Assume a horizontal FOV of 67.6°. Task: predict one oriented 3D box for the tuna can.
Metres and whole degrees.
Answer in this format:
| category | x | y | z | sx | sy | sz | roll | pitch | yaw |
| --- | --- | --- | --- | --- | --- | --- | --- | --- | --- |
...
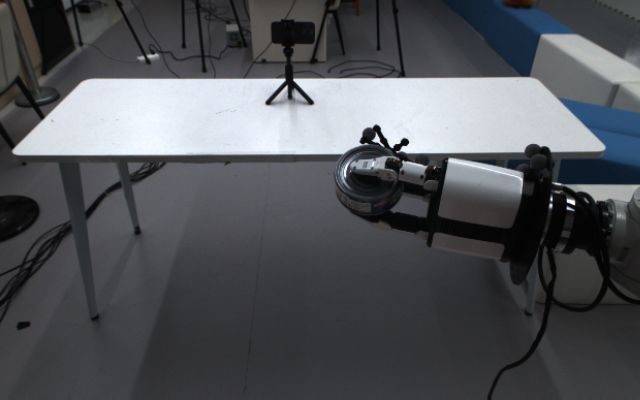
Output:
| category | x | y | z | sx | sy | sz | roll | pitch | yaw |
| --- | --- | --- | --- | --- | --- | --- | --- | --- | --- |
| tuna can | 0.064 | -0.020 | 0.592 | 0.085 | 0.034 | 0.085 | -4 | 58 | 6 |
